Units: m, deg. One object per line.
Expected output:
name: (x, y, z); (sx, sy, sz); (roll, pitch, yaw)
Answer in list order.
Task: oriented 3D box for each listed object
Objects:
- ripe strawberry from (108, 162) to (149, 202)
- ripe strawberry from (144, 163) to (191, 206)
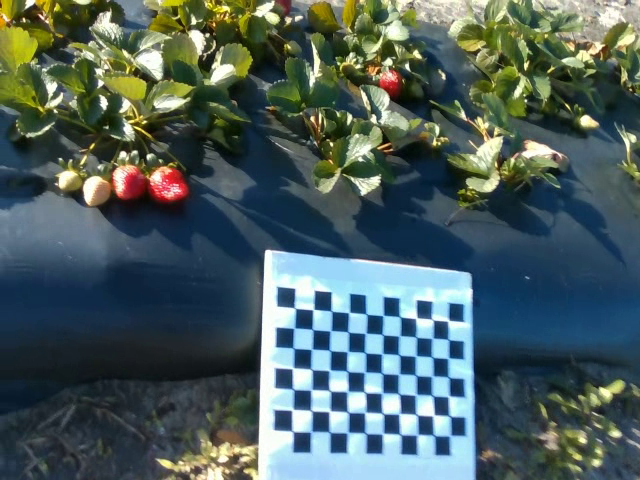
ripe strawberry: (-0.229, -0.066, 0.837); (0.050, 0.044, 0.061); (32, 30, -19)
ripe strawberry: (-0.177, -0.063, 0.852); (0.067, 0.057, 0.052); (27, -23, 38)
